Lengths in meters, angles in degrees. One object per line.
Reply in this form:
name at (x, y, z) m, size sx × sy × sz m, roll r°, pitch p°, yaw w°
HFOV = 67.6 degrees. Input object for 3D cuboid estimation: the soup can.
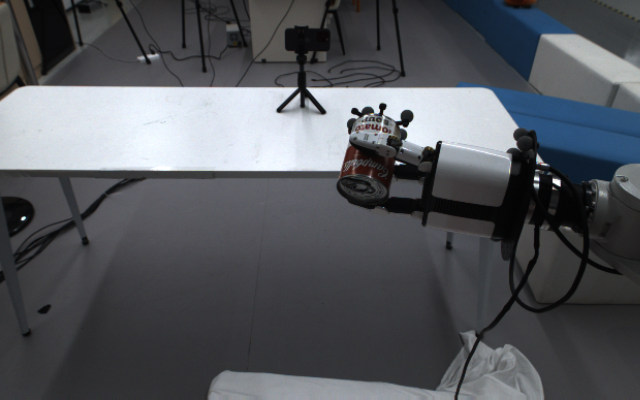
soup can at (0.066, -0.055, 0.631) m, size 0.067 × 0.067 × 0.101 m, roll 9°, pitch 60°, yaw 10°
